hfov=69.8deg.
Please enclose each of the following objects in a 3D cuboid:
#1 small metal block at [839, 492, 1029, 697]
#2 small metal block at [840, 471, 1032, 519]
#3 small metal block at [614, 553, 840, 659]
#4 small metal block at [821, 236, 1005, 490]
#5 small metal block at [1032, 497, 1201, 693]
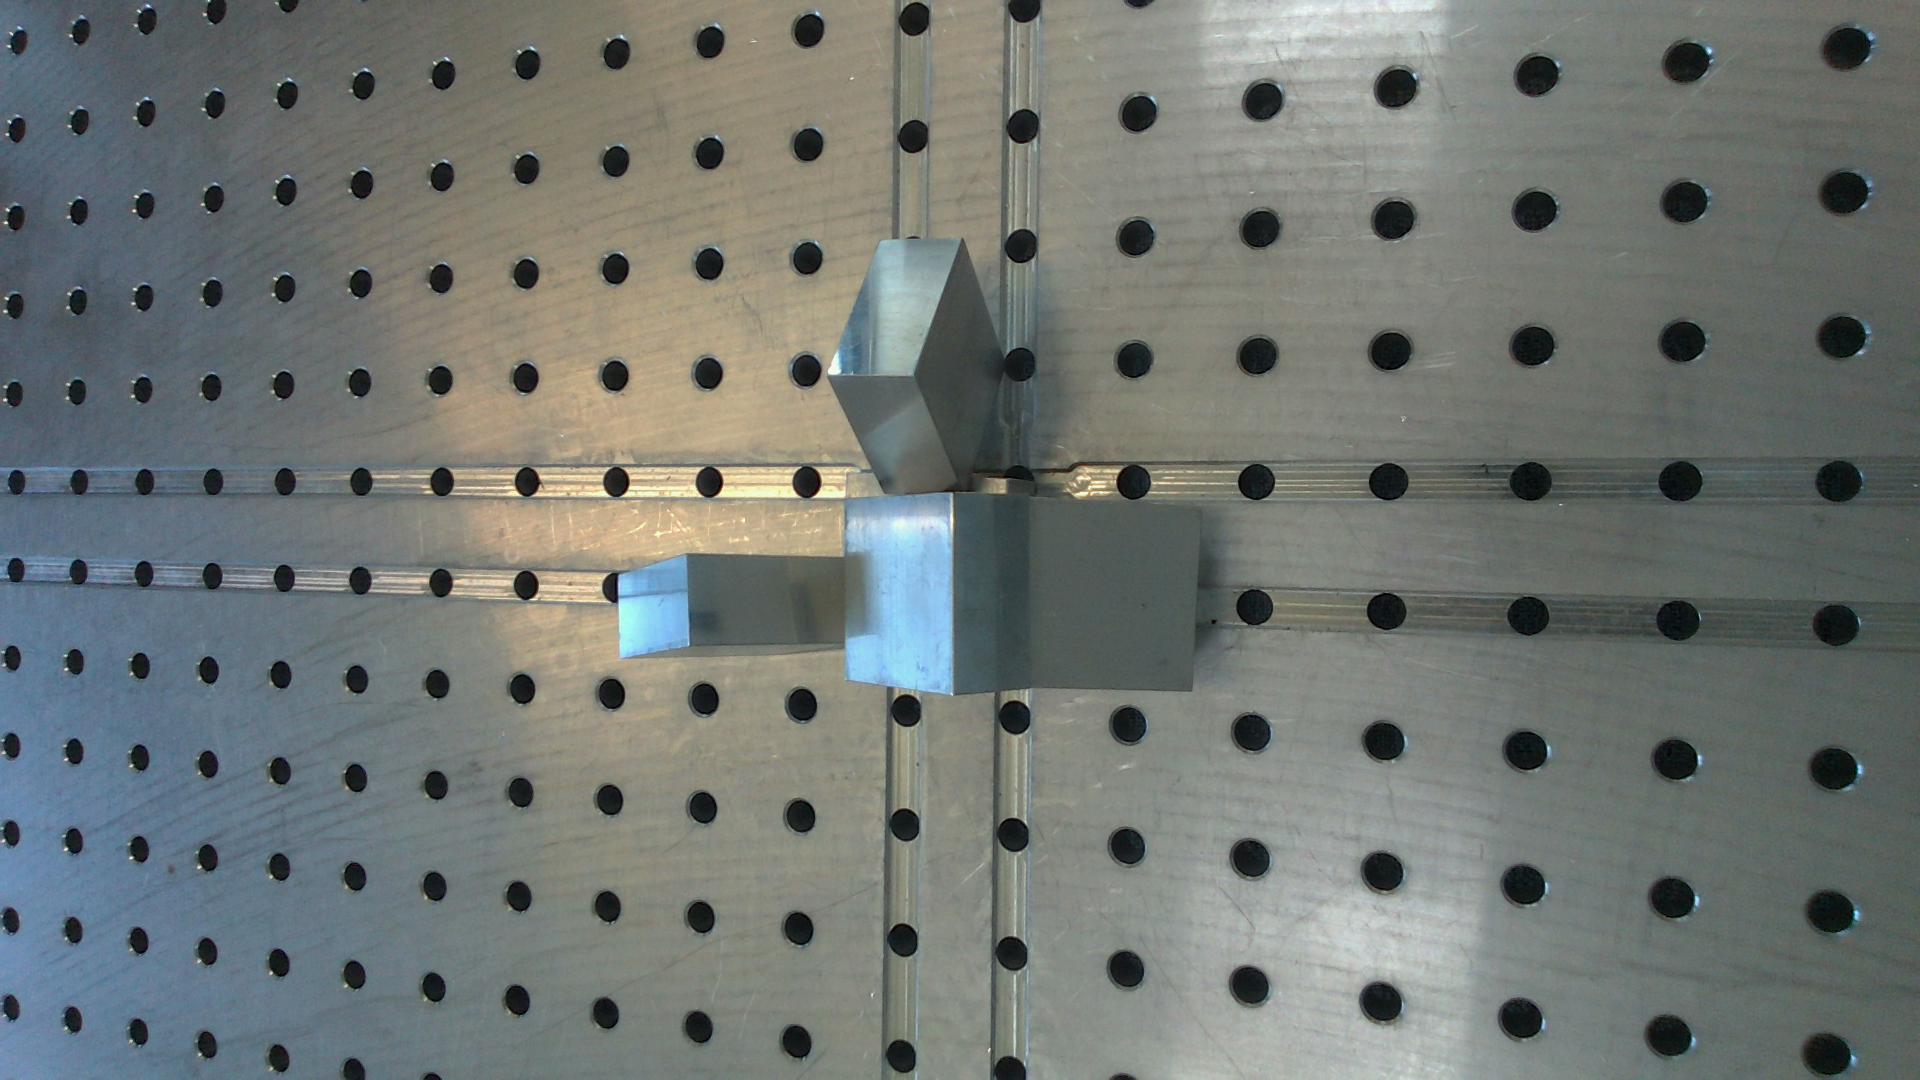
[{"bbox_3d":[-0.008,0.013,0.362,0.050,0.025,0.050,-1,90,53],"label":"small metal block"},{"bbox_3d":[-0.008,0.006,0.401,0.050,0.025,0.050,3,91,20],"label":"small metal block"},{"bbox_3d":[-0.067,0.020,0.398,0.050,0.050,0.025,-13,78,54],"label":"small metal block"},{"bbox_3d":[-0.011,-0.047,0.378,0.025,0.050,0.050,3,55,21],"label":"small metal block"},{"bbox_3d":[0.036,0.014,0.374,0.050,0.025,0.050,2,91,-11],"label":"small metal block"}]
